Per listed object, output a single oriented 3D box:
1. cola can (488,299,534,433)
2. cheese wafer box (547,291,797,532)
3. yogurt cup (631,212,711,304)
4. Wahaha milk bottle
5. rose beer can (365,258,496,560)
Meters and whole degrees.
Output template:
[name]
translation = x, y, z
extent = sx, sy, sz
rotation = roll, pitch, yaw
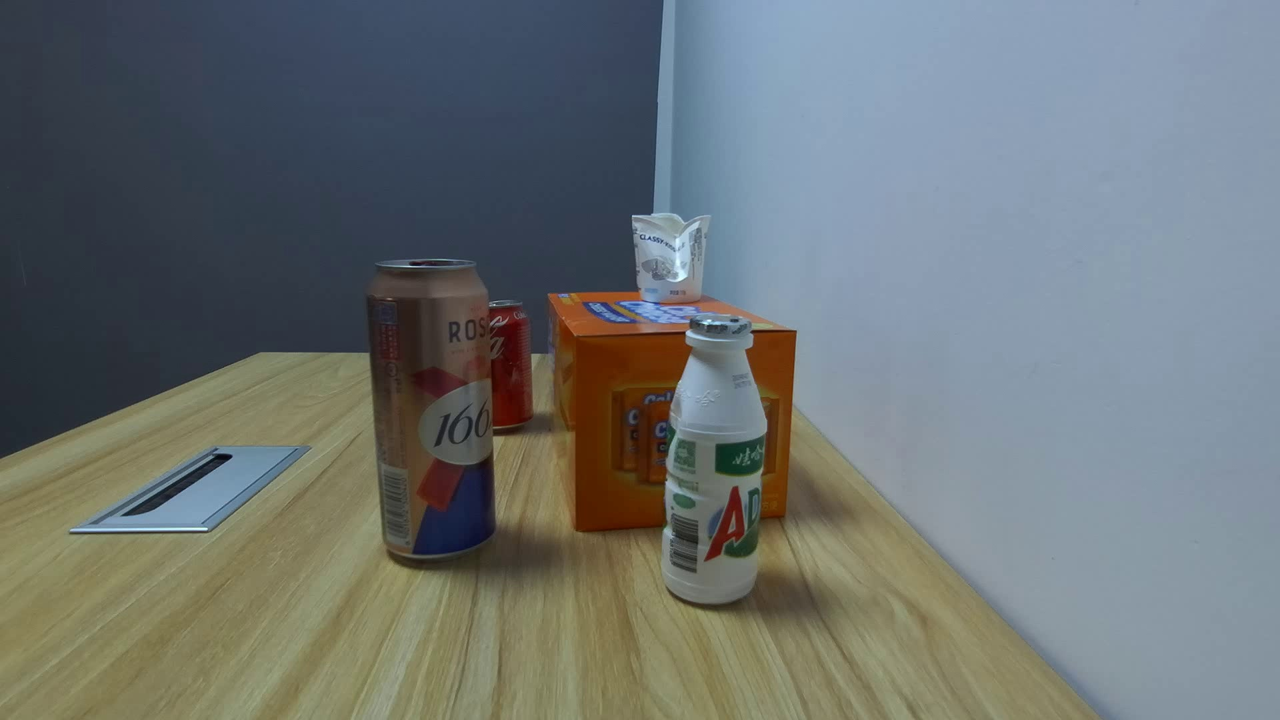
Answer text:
[cola can]
translation = -0.134, 0.004, 0.653
extent = 0.065, 0.117, 0.072
rotation = 13, 17, 37
[cheese wafer box]
translation = 0.011, 0.024, 0.549
extent = 0.148, 0.129, 0.221
rotation = -2, 13, -11
[yogurt cup]
translation = 0.027, -0.087, 0.600
extent = 0.054, 0.072, 0.055
rotation = 10, 16, 35
[Wahaha milk bottle]
translation = 0.038, 0.056, 0.369
extent = 0.053, 0.136, 0.053
rotation = 1, 13, 0
[rose beer can]
translation = -0.122, 0.030, 0.417
extent = 0.068, 0.169, 0.068
rotation = -1, 10, 1
